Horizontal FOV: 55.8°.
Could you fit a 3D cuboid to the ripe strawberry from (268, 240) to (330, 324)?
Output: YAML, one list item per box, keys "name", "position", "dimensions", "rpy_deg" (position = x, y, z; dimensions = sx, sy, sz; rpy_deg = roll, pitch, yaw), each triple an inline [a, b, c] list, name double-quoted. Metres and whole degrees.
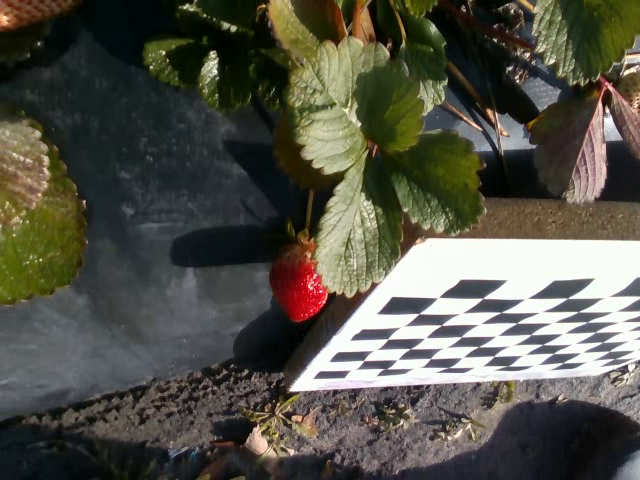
- name: "ripe strawberry"
  position: [-0.007, 0.018, 0.237]
  dimensions: [0.034, 0.038, 0.033]
  rpy_deg: [1, 12, -14]
